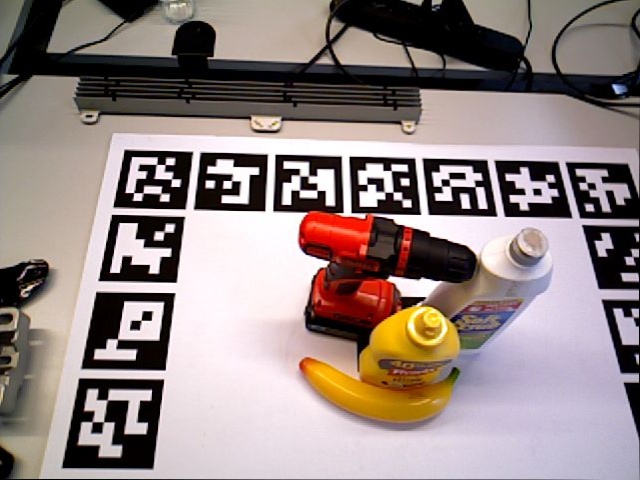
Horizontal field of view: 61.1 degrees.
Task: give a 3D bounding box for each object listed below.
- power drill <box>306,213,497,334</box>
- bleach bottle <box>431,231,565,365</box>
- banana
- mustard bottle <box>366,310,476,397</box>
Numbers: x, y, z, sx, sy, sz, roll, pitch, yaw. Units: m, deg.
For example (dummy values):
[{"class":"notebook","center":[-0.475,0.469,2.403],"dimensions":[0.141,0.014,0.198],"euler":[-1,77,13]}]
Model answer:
[{"class":"power drill","center":[0.070,0.044,0.583],"dimensions":[0.184,0.190,0.056],"euler":[13,61,1]},{"class":"bleach bottle","center":[0.180,0.058,0.578],"dimensions":[0.102,0.256,0.067],"euler":[4,57,-2]},{"class":"banana","center":[0.083,0.184,0.635],"dimensions":[0.197,0.039,0.073],"euler":[5,65,2]},{"class":"mustard bottle","center":[0.109,0.118,0.572],"dimensions":[0.095,0.195,0.058],"euler":[3,62,-4]}]
